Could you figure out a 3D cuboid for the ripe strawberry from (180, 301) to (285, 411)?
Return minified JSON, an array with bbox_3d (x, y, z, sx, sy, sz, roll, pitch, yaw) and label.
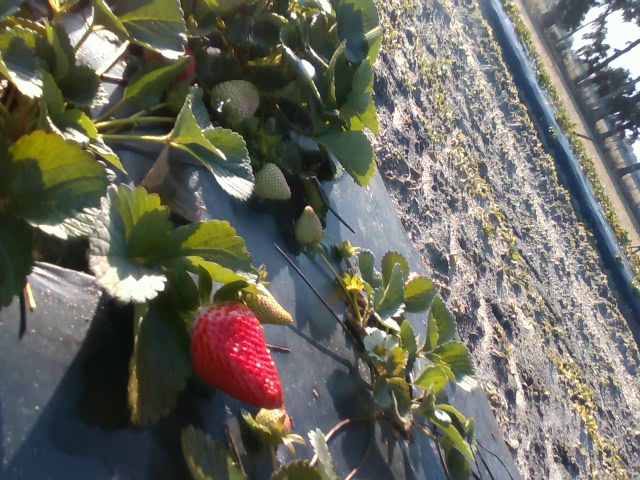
[{"bbox_3d":[-0.041,0.062,0.323,0.056,0.072,0.055,-37,-16,-21],"label":"ripe strawberry"}]
